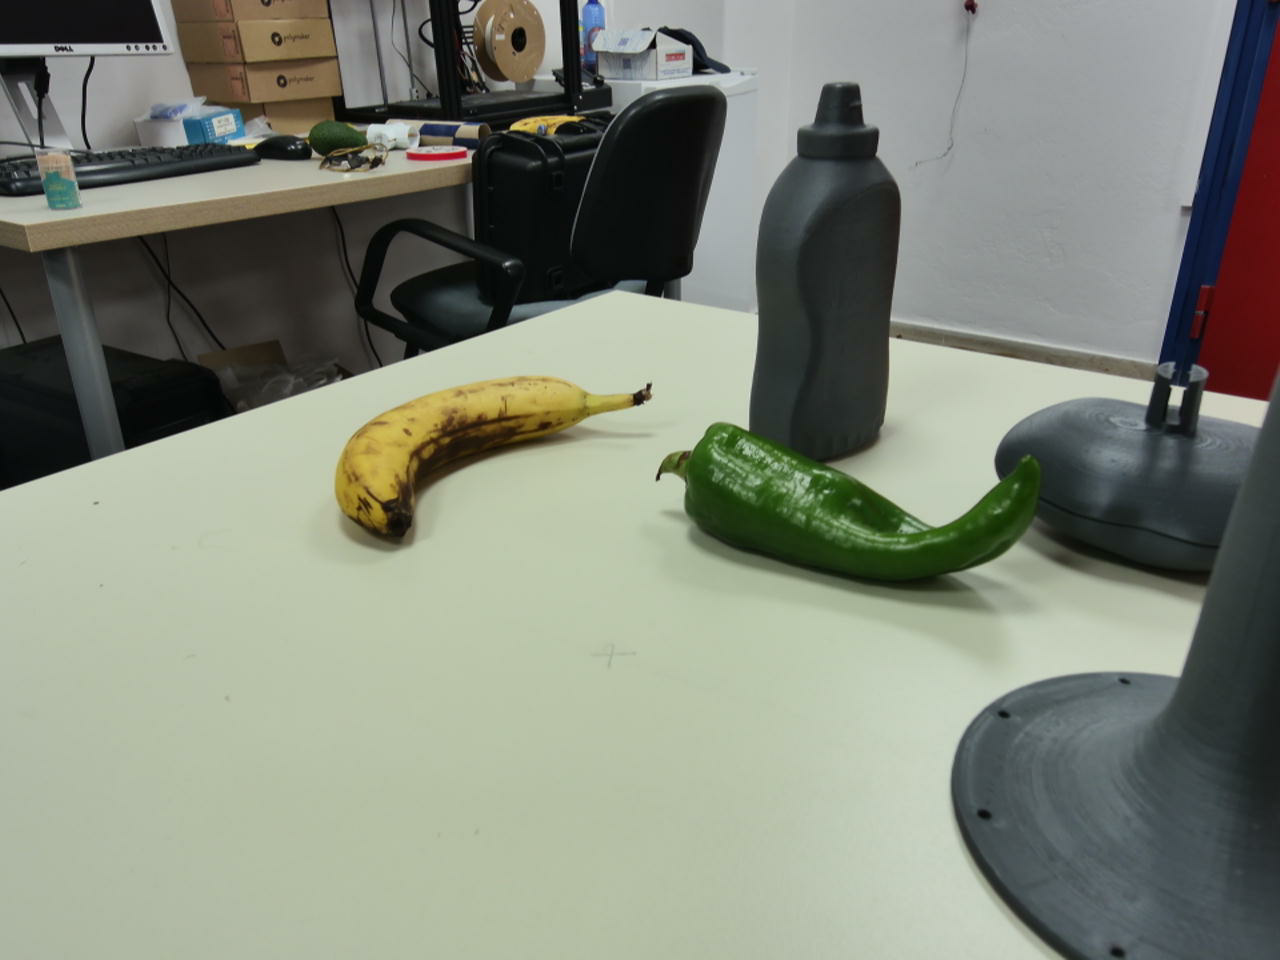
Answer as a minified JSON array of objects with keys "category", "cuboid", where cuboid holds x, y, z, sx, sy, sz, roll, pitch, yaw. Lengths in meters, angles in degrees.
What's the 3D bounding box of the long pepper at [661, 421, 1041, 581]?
[{"category":"long pepper","cuboid":[0.082,0.005,0.443,0.175,0.065,0.058,17,28,34]}]
